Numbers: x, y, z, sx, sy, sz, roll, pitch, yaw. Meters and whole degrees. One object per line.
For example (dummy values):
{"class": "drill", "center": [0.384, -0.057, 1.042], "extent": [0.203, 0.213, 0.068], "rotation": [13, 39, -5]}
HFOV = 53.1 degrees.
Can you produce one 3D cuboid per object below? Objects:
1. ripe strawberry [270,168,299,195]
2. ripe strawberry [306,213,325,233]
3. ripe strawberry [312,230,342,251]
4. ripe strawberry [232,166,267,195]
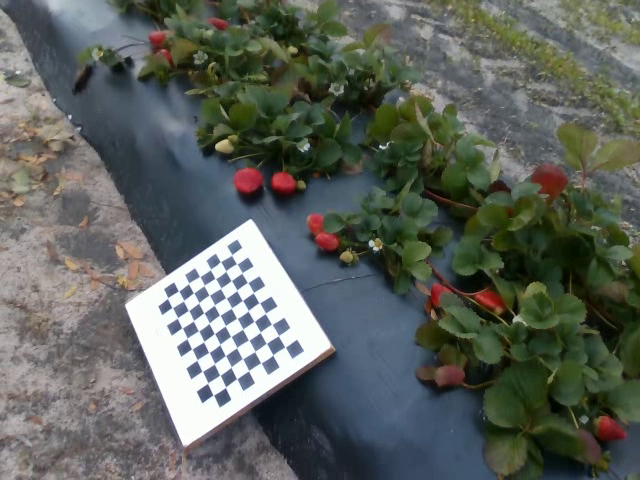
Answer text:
{"class": "ripe strawberry", "center": [-0.069, -0.108, 1.209], "extent": [0.051, 0.051, 0.059], "rotation": [-19, 10, 18]}
{"class": "ripe strawberry", "center": [-0.003, -0.029, 1.141], "extent": [0.053, 0.047, 0.038], "rotation": [34, -6, -1]}
{"class": "ripe strawberry", "center": [0.011, -0.003, 1.107], "extent": [0.049, 0.041, 0.043], "rotation": [8, 33, -48]}
{"class": "ripe strawberry", "center": [-0.135, -0.110, 1.205], "extent": [0.059, 0.065, 0.043], "rotation": [-14, -47, 21]}
